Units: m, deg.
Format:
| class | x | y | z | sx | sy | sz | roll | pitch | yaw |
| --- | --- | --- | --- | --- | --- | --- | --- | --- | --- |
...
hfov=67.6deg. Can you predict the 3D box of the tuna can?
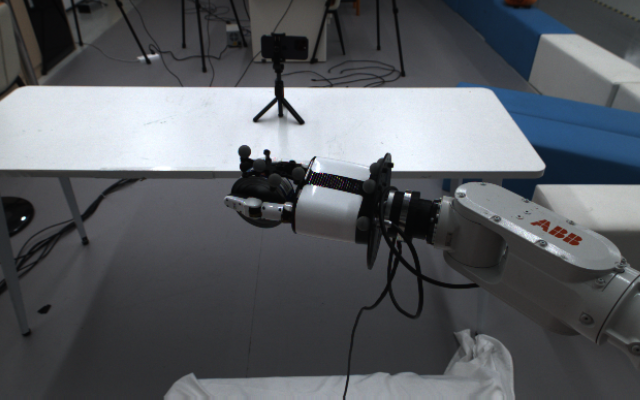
| class | x | y | z | sx | sy | sz | roll | pitch | yaw |
| --- | --- | --- | --- | --- | --- | --- | --- | --- | --- |
| tuna can | -0.078 | -0.005 | 0.681 | 0.085 | 0.085 | 0.034 | 12 | 33 | 14 |
